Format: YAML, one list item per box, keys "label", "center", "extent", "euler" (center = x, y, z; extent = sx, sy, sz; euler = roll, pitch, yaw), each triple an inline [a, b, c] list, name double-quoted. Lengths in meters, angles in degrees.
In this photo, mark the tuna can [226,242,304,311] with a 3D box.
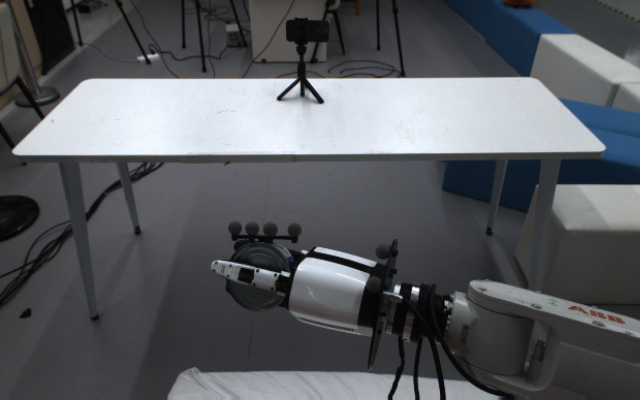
- label: "tuna can"
  center: [-0.070, 0.095, 0.610]
  extent: [0.085, 0.085, 0.034]
  euler: [12, -1, 14]
